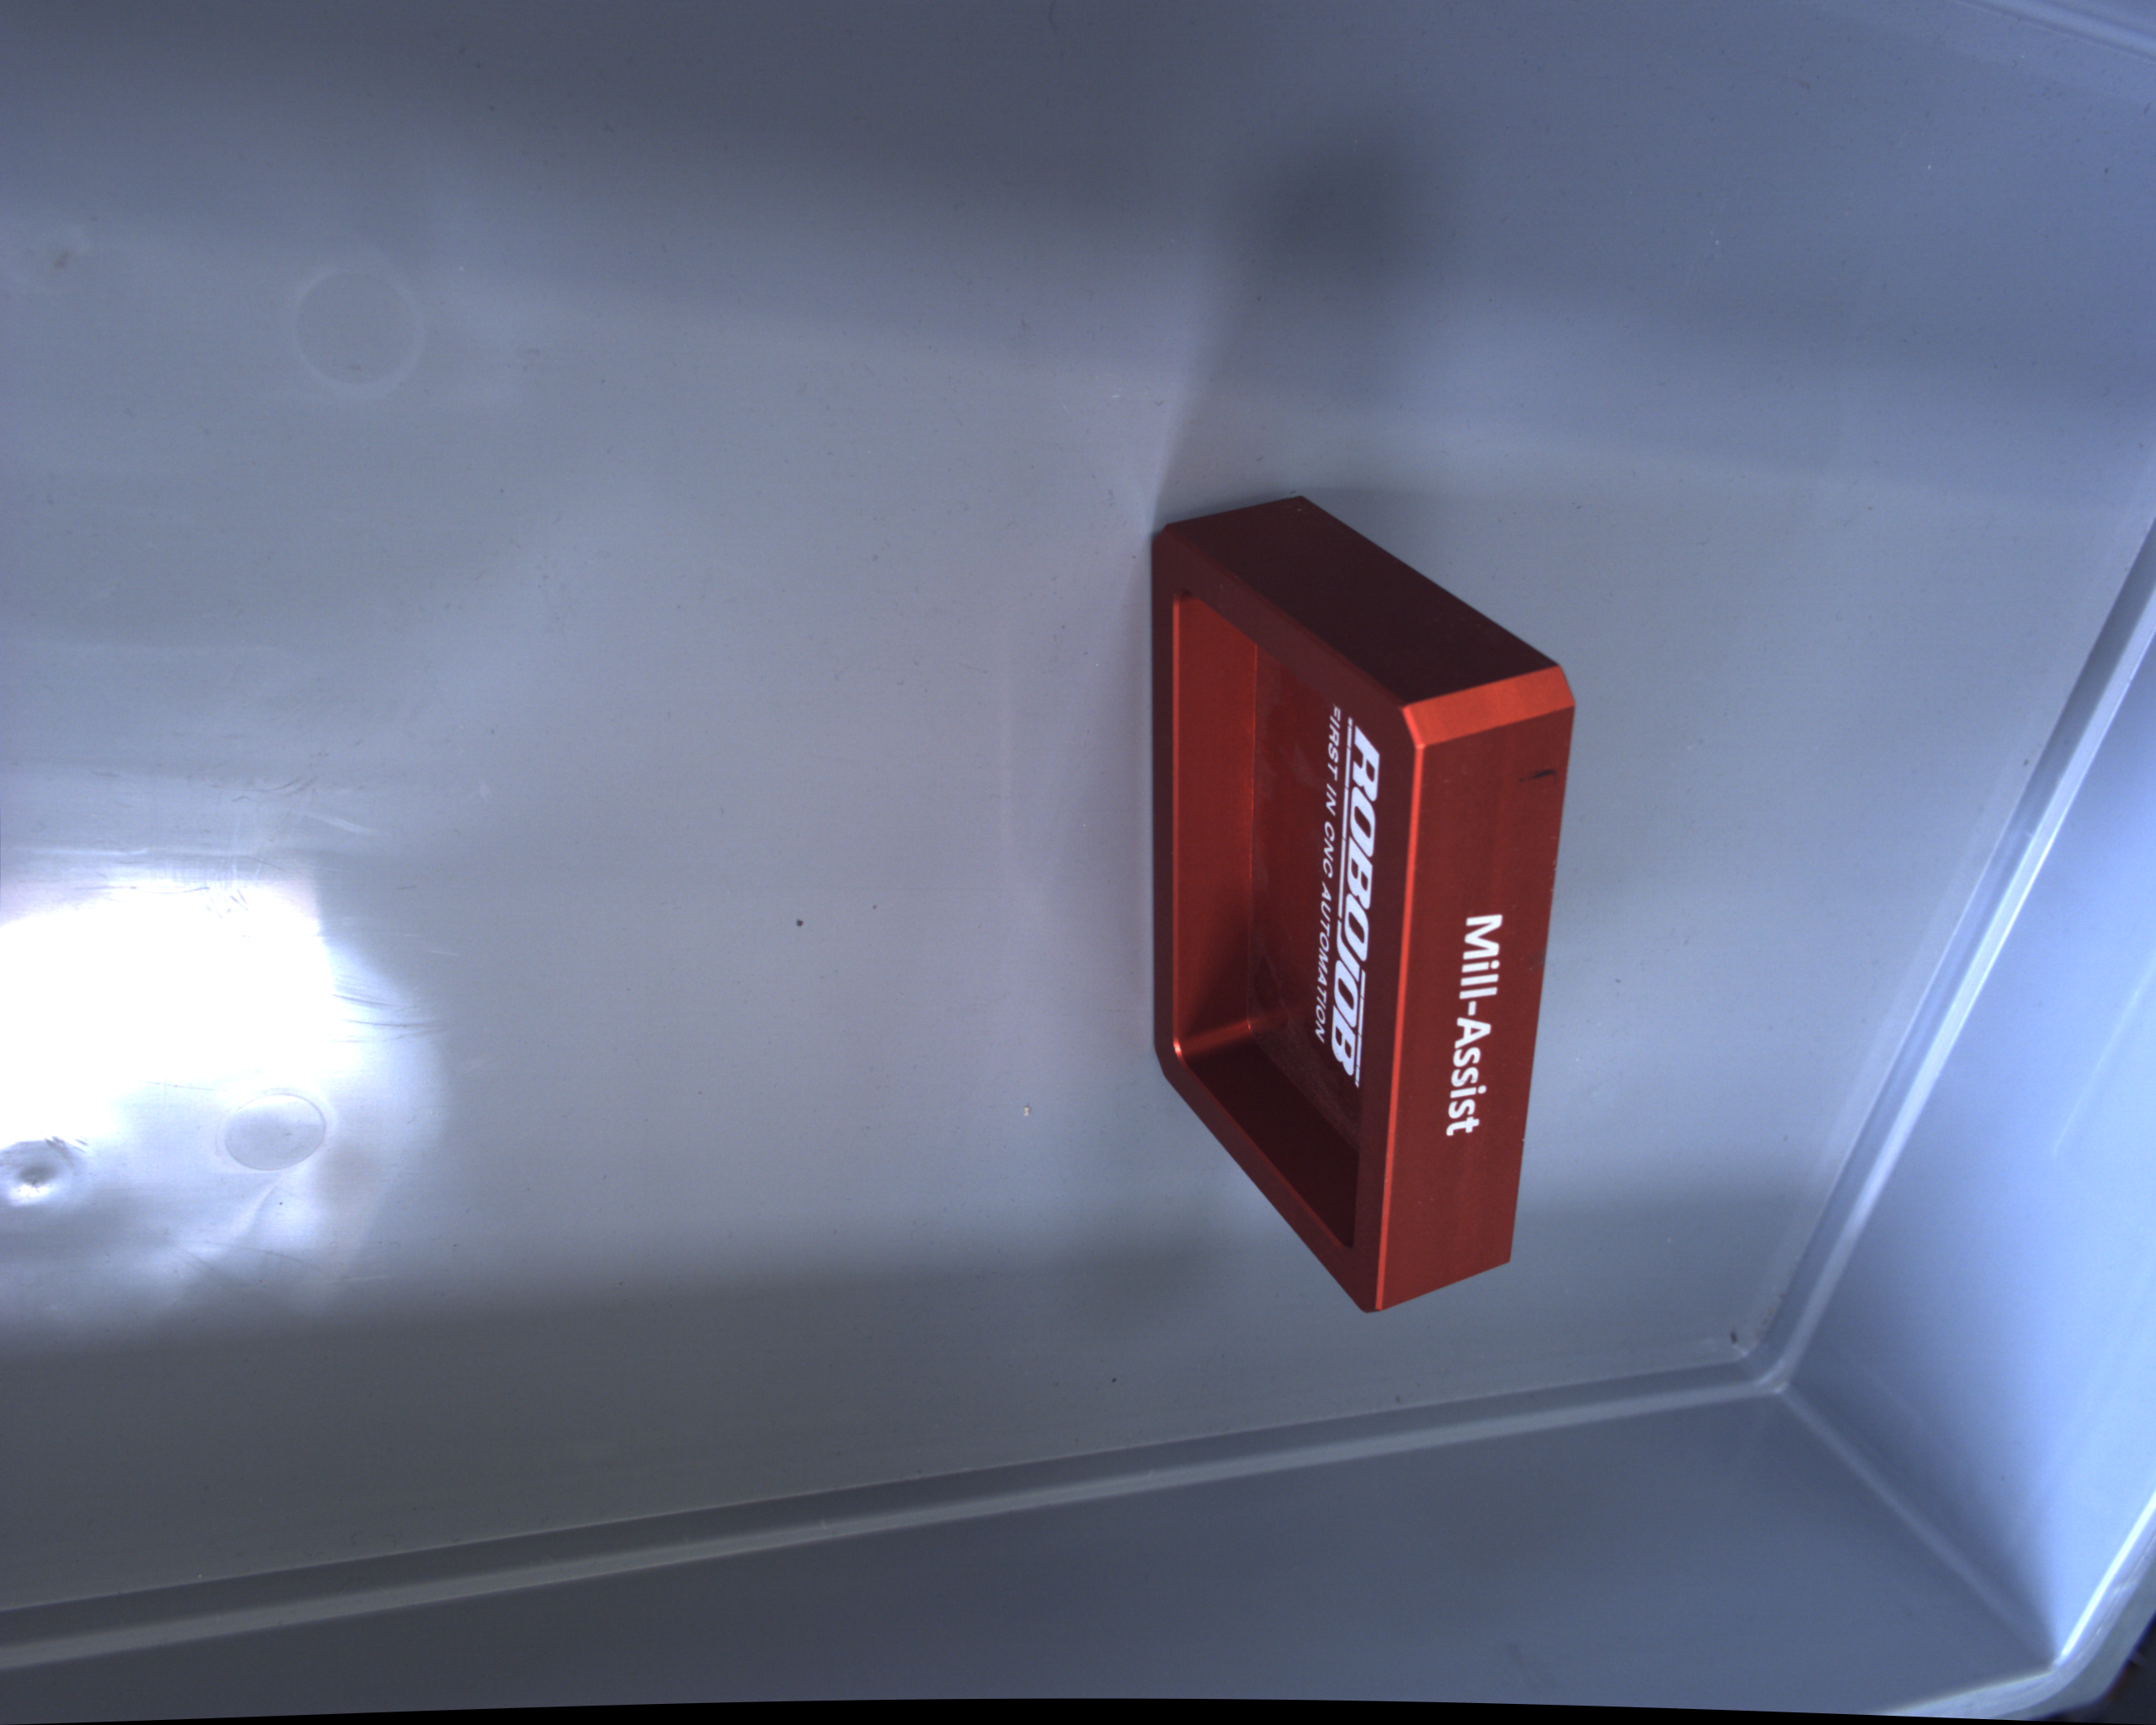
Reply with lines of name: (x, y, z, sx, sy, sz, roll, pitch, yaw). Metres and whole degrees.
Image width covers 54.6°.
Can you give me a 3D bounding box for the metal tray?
metal tray: (0.048, 0.008, 0.393, 0.030, 0.090, 0.129, -16, 125, -21)
